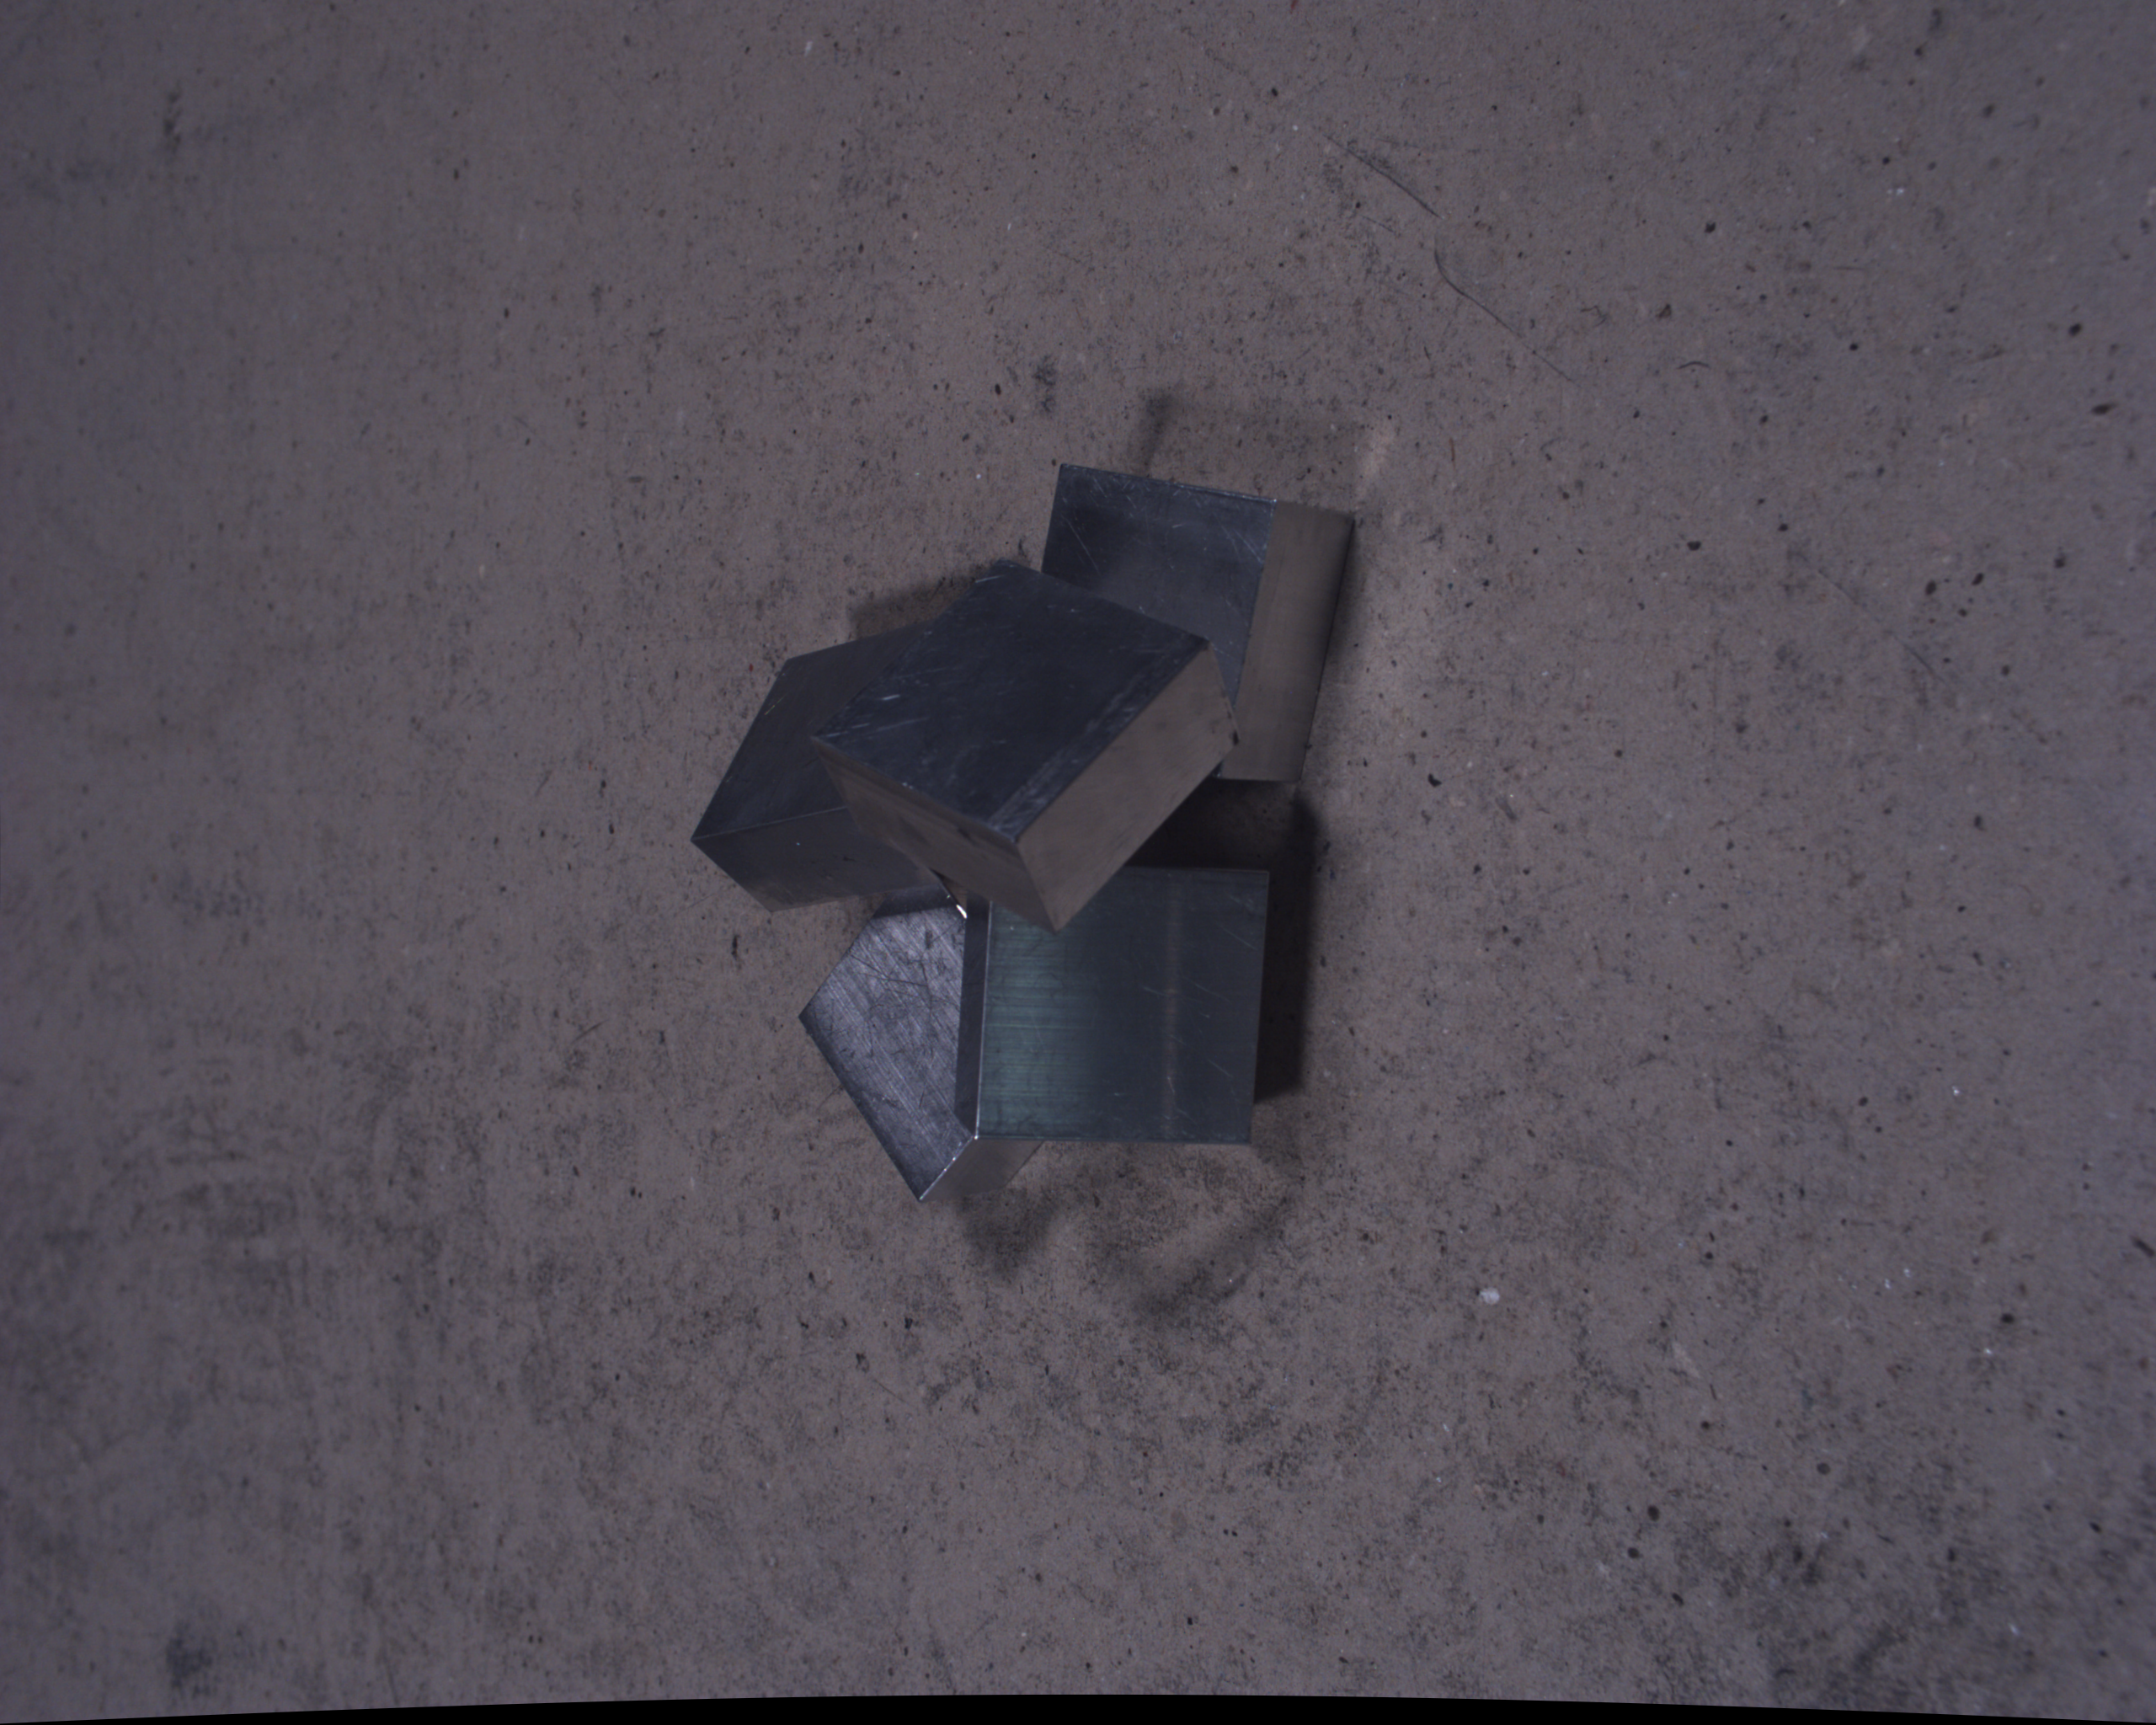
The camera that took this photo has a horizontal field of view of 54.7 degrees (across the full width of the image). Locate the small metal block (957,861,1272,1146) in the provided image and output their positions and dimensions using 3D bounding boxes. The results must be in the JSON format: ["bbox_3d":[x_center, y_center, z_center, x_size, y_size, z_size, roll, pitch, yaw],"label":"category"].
[{"bbox_3d":[0.006,0.024,0.381,0.025,0.050,0.050,-164,78,-77],"label":"small metal block"}]

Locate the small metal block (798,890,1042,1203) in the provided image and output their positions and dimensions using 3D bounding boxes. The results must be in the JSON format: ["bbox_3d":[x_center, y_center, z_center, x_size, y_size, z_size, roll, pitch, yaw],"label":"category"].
[{"bbox_3d":[-0.023,0.033,0.424,0.050,0.025,0.050,-52,60,27],"label":"small metal block"}]

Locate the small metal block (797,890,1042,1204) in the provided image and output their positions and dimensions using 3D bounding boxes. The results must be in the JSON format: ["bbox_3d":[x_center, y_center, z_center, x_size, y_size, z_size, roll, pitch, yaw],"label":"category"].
[{"bbox_3d":[-0.023,0.033,0.424,0.050,0.025,0.050,-52,60,27],"label":"small metal block"}]

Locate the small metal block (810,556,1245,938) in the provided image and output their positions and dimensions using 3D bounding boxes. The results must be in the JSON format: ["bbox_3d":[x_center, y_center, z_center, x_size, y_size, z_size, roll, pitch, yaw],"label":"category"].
[{"bbox_3d":[-0.008,-0.021,0.361,0.050,0.025,0.050,27,63,36],"label":"small metal block"}]

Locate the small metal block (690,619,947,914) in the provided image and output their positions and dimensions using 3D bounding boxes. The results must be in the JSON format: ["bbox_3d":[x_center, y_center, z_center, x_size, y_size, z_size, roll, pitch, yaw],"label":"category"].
[{"bbox_3d":[-0.044,-0.020,0.424,0.050,0.025,0.050,-10,46,39],"label":"small metal block"}]

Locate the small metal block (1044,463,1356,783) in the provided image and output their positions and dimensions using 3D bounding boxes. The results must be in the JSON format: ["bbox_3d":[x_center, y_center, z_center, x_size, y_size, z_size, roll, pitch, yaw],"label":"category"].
[{"bbox_3d":[0.019,-0.045,0.389,0.050,0.025,0.050,18,101,38],"label":"small metal block"}]
